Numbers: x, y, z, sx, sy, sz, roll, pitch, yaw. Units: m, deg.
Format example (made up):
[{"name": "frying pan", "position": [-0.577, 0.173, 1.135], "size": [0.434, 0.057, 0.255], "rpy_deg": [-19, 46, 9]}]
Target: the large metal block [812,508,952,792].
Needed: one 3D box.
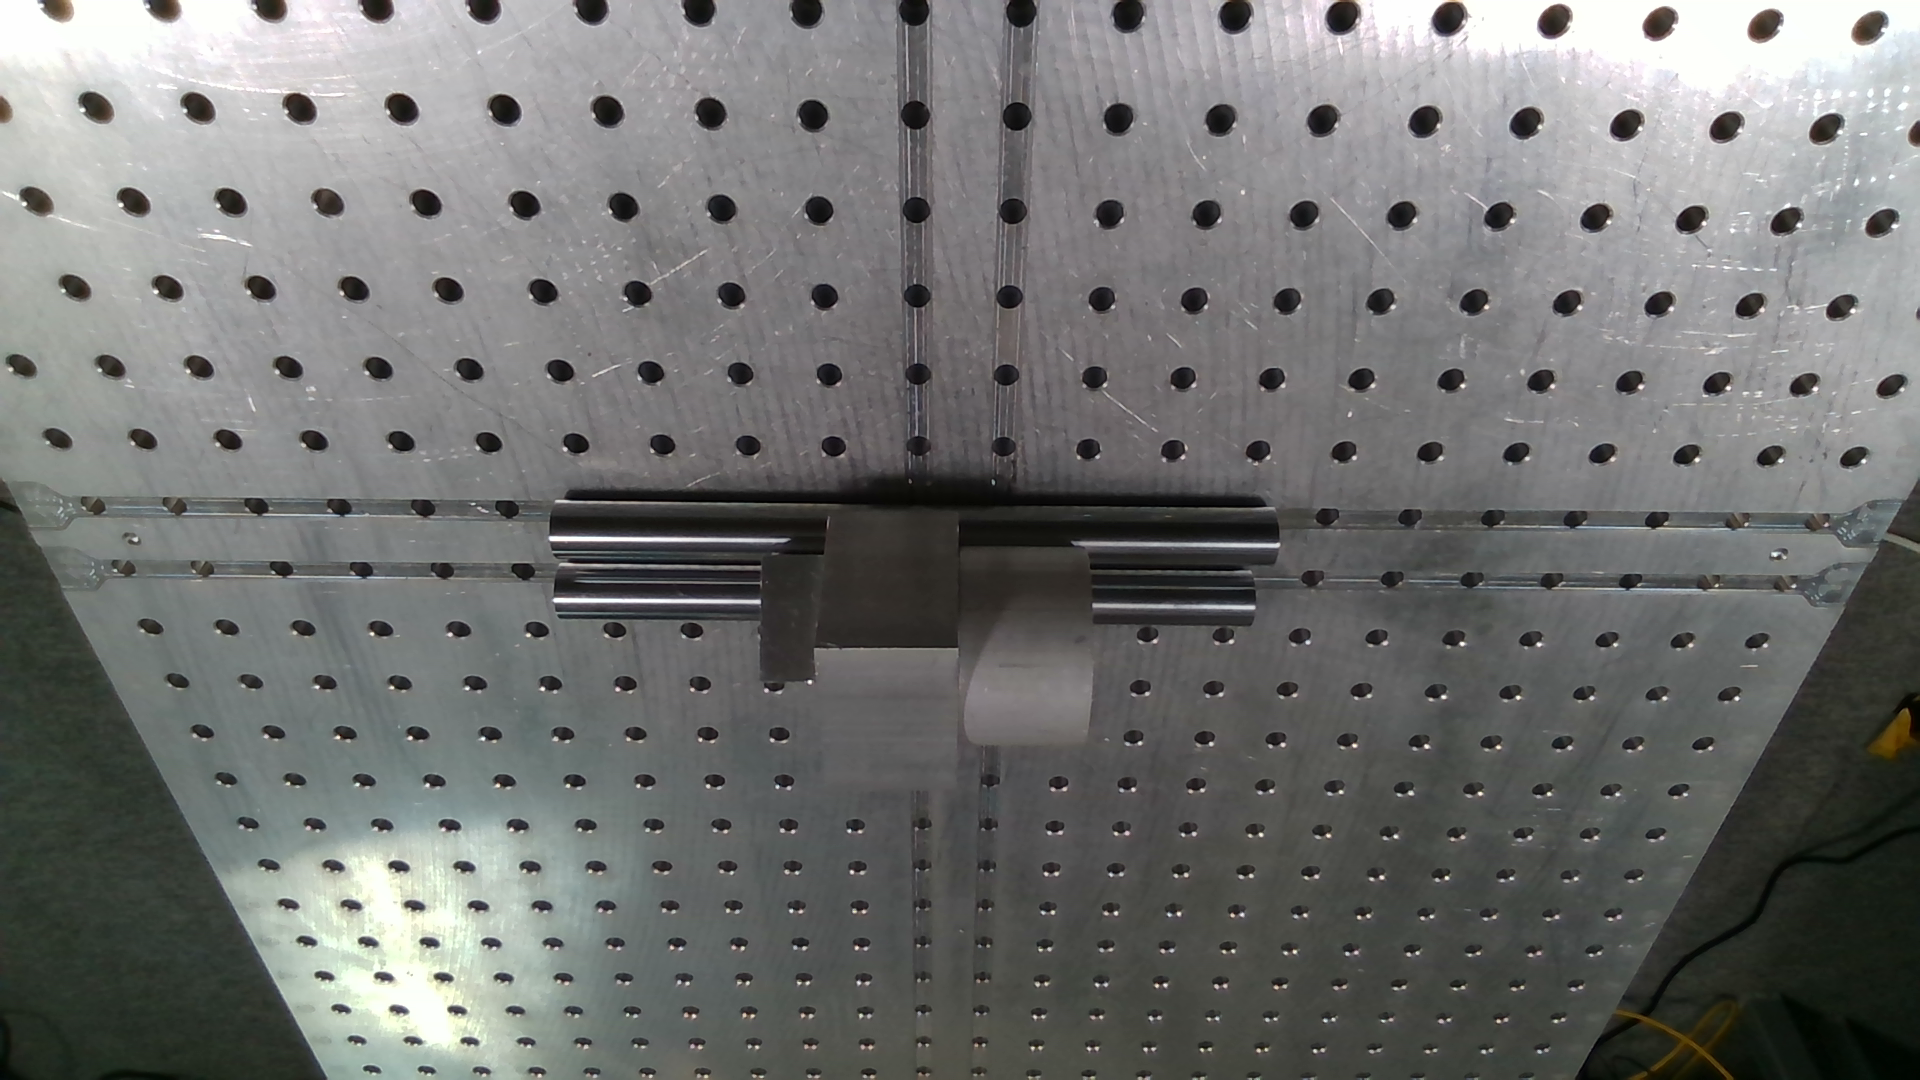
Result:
[{"name": "large metal block", "position": [-0.028, 0.044, 0.551], "size": [0.050, 0.080, 0.080], "rpy_deg": [0, 130, 0]}]

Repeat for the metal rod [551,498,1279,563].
[{"name": "metal rod", "position": [-0.018, -0.004, 0.580], "size": [0.300, 0.025, 0.025], "rpy_deg": [1, 130, 0]}]

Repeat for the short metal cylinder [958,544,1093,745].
[{"name": "short metal cylinder", "position": [0.024, 0.042, 0.554], "size": [0.050, 0.080, 0.080], "rpy_deg": [1, 130, 0]}]

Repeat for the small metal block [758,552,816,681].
[{"name": "small metal block", "position": [-0.066, 0.032, 0.563], "size": [0.025, 0.050, 0.050], "rpy_deg": [1, 175, 0]}]

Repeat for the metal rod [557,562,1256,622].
[{"name": "metal rod", "position": [-0.023, 0.023, 0.603], "size": [0.300, 0.025, 0.025], "rpy_deg": [1, 130, 0]}]
